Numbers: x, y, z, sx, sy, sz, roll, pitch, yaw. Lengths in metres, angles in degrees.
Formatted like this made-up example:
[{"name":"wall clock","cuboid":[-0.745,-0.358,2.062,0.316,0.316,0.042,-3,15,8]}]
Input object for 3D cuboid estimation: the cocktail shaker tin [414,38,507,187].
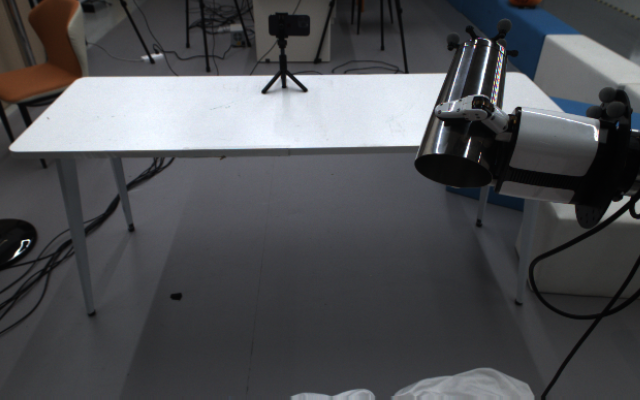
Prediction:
[{"name":"cocktail shaker tin","cuboid":[0.183,-0.111,0.601,0.093,0.093,0.170,14,72,16]}]
